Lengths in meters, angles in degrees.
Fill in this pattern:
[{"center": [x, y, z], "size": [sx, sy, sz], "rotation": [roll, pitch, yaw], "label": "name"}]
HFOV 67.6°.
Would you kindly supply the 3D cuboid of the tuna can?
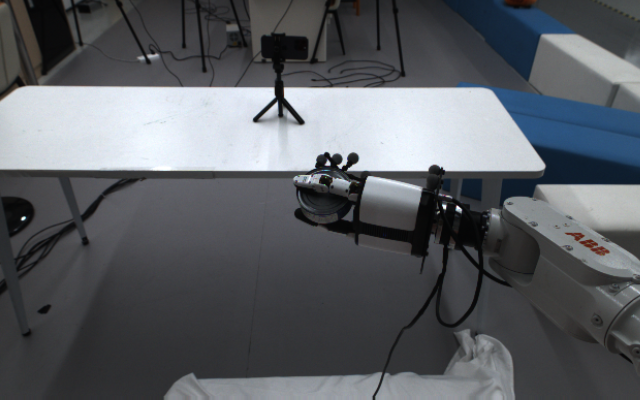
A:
[{"center": [0.009, -0.009, 0.742], "size": [0.085, 0.034, 0.085], "rotation": [-4, 56, 6], "label": "tuna can"}]
